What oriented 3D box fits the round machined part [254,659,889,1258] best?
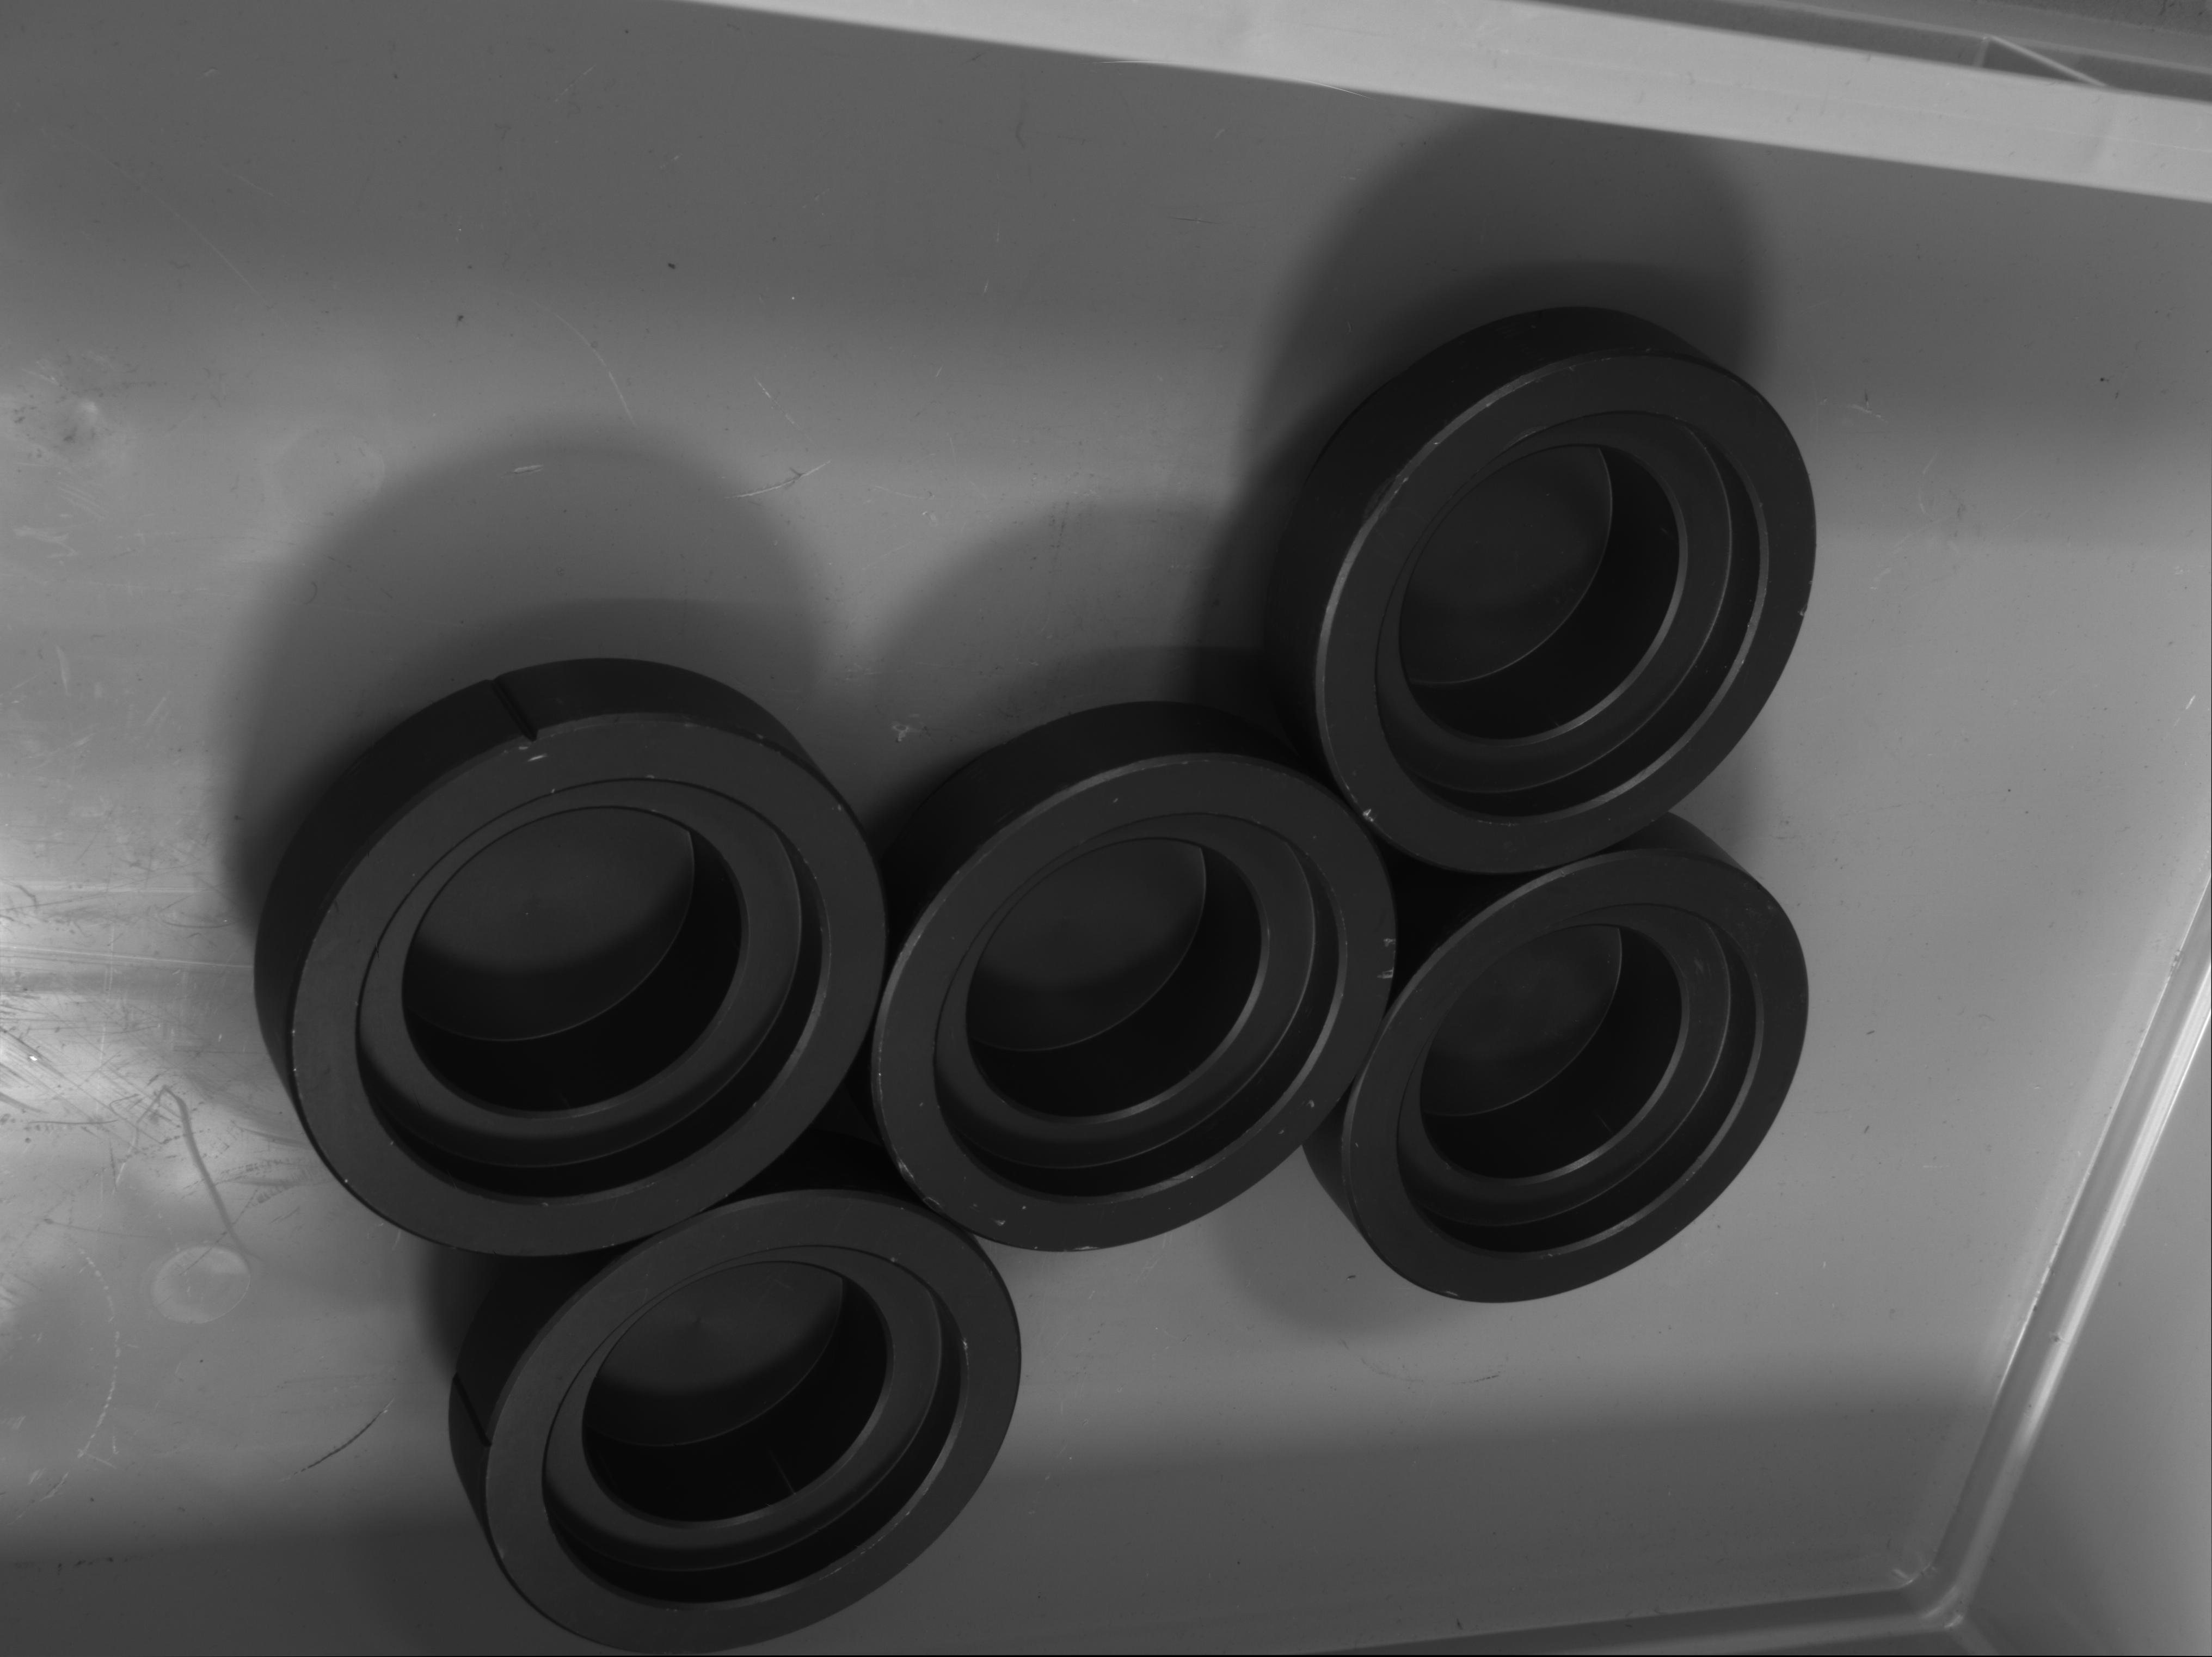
[{"bbox_3d":[-0.088,0.017,0.587,0.098,0.042,0.098,-14,124,-21],"label":"round machined part"}]

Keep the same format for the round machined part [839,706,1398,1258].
[{"bbox_3d":[-0.002,0.022,0.635,0.098,0.042,0.098,-14,124,-21],"label":"round machined part"}]

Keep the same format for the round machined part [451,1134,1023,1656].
[{"bbox_3d":[-0.067,0.095,0.644,0.098,0.042,0.098,-14,124,-21],"label":"round machined part"}]

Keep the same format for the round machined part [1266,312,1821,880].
[{"bbox_3d":[0.071,-0.044,0.635,0.098,0.042,0.098,-14,124,-21],"label":"round machined part"}]

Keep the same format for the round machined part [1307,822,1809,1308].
[{"bbox_3d":[0.079,0.038,0.689,0.098,0.042,0.098,-14,124,-21],"label":"round machined part"}]
